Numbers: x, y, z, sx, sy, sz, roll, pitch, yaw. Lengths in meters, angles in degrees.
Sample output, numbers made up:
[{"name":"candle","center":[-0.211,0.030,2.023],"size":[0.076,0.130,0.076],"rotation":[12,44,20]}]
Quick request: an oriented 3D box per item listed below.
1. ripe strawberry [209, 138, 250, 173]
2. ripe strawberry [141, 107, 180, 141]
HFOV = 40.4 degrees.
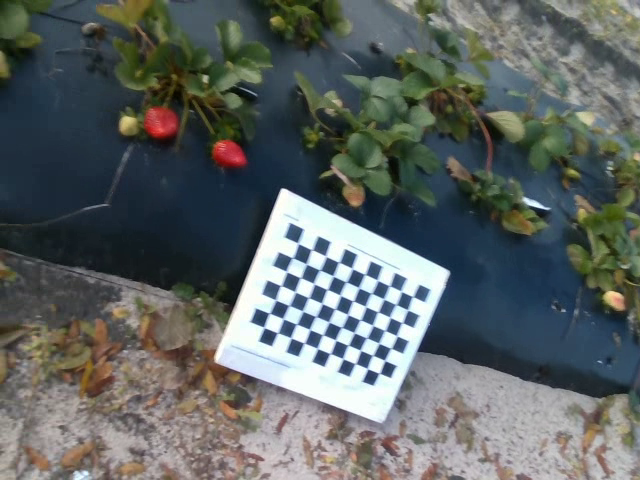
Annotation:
[{"name":"ripe strawberry","center":[-0.073,-0.090,0.841],"size":[0.033,0.038,0.039],"rotation":[38,1,-43]},{"name":"ripe strawberry","center":[-0.130,-0.114,0.809],"size":[0.035,0.041,0.036],"rotation":[9,27,-21]}]
